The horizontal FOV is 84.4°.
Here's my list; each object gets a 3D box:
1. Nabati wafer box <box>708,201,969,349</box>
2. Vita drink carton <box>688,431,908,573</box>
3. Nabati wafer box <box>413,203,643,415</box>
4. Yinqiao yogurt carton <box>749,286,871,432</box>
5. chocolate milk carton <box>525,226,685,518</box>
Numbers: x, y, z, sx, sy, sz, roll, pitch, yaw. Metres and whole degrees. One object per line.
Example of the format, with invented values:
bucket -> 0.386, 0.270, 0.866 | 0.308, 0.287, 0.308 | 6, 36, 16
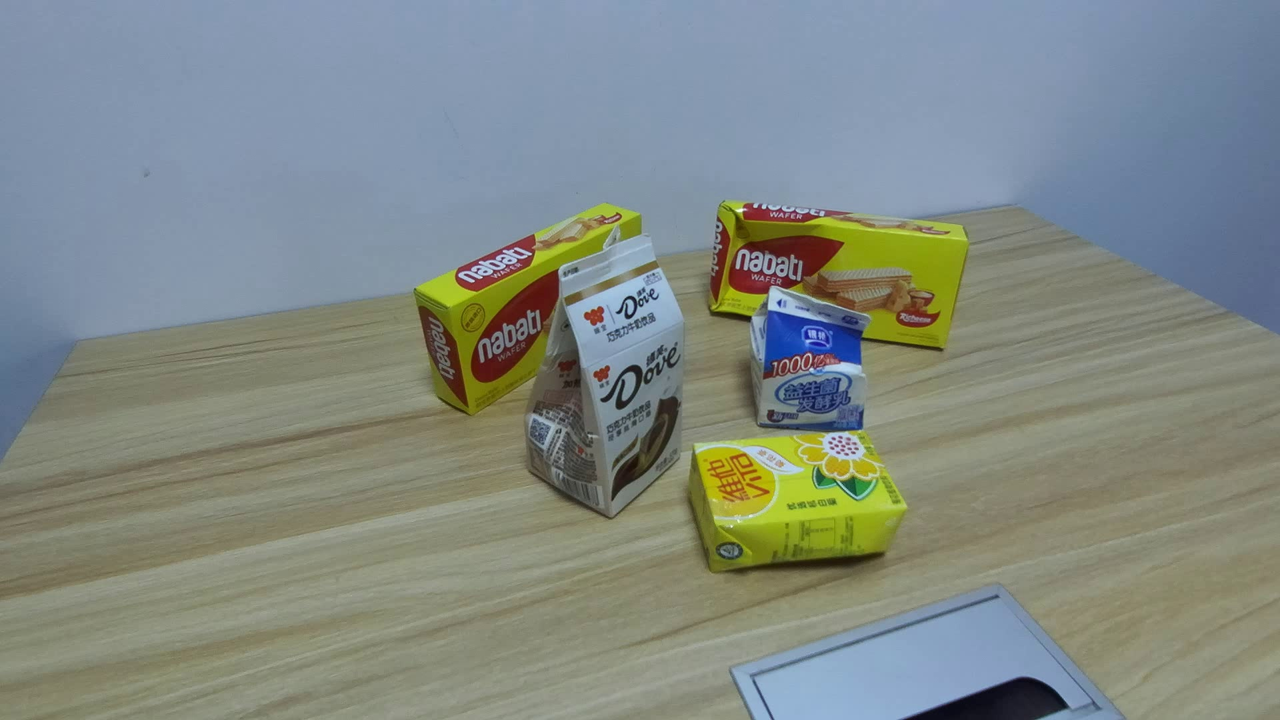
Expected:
Nabati wafer box -> 0.159, -0.072, 0.589 | 0.203, 0.096, 0.042 | 10, 26, 12
Vita drink carton -> 0.087, 0.082, 0.405 | 0.109, 0.043, 0.076 | -3, 36, -8
Nabati wafer box -> -0.074, -0.047, 0.557 | 0.042, 0.093, 0.203 | 24, 41, 33
Yinqiao yogurt carton -> 0.118, -0.009, 0.491 | 0.083, 0.093, 0.077 | 4, 35, 6
chocolate milk carton -> -0.024, 0.006, 0.421 | 0.072, 0.155, 0.084 | 23, 41, 32
